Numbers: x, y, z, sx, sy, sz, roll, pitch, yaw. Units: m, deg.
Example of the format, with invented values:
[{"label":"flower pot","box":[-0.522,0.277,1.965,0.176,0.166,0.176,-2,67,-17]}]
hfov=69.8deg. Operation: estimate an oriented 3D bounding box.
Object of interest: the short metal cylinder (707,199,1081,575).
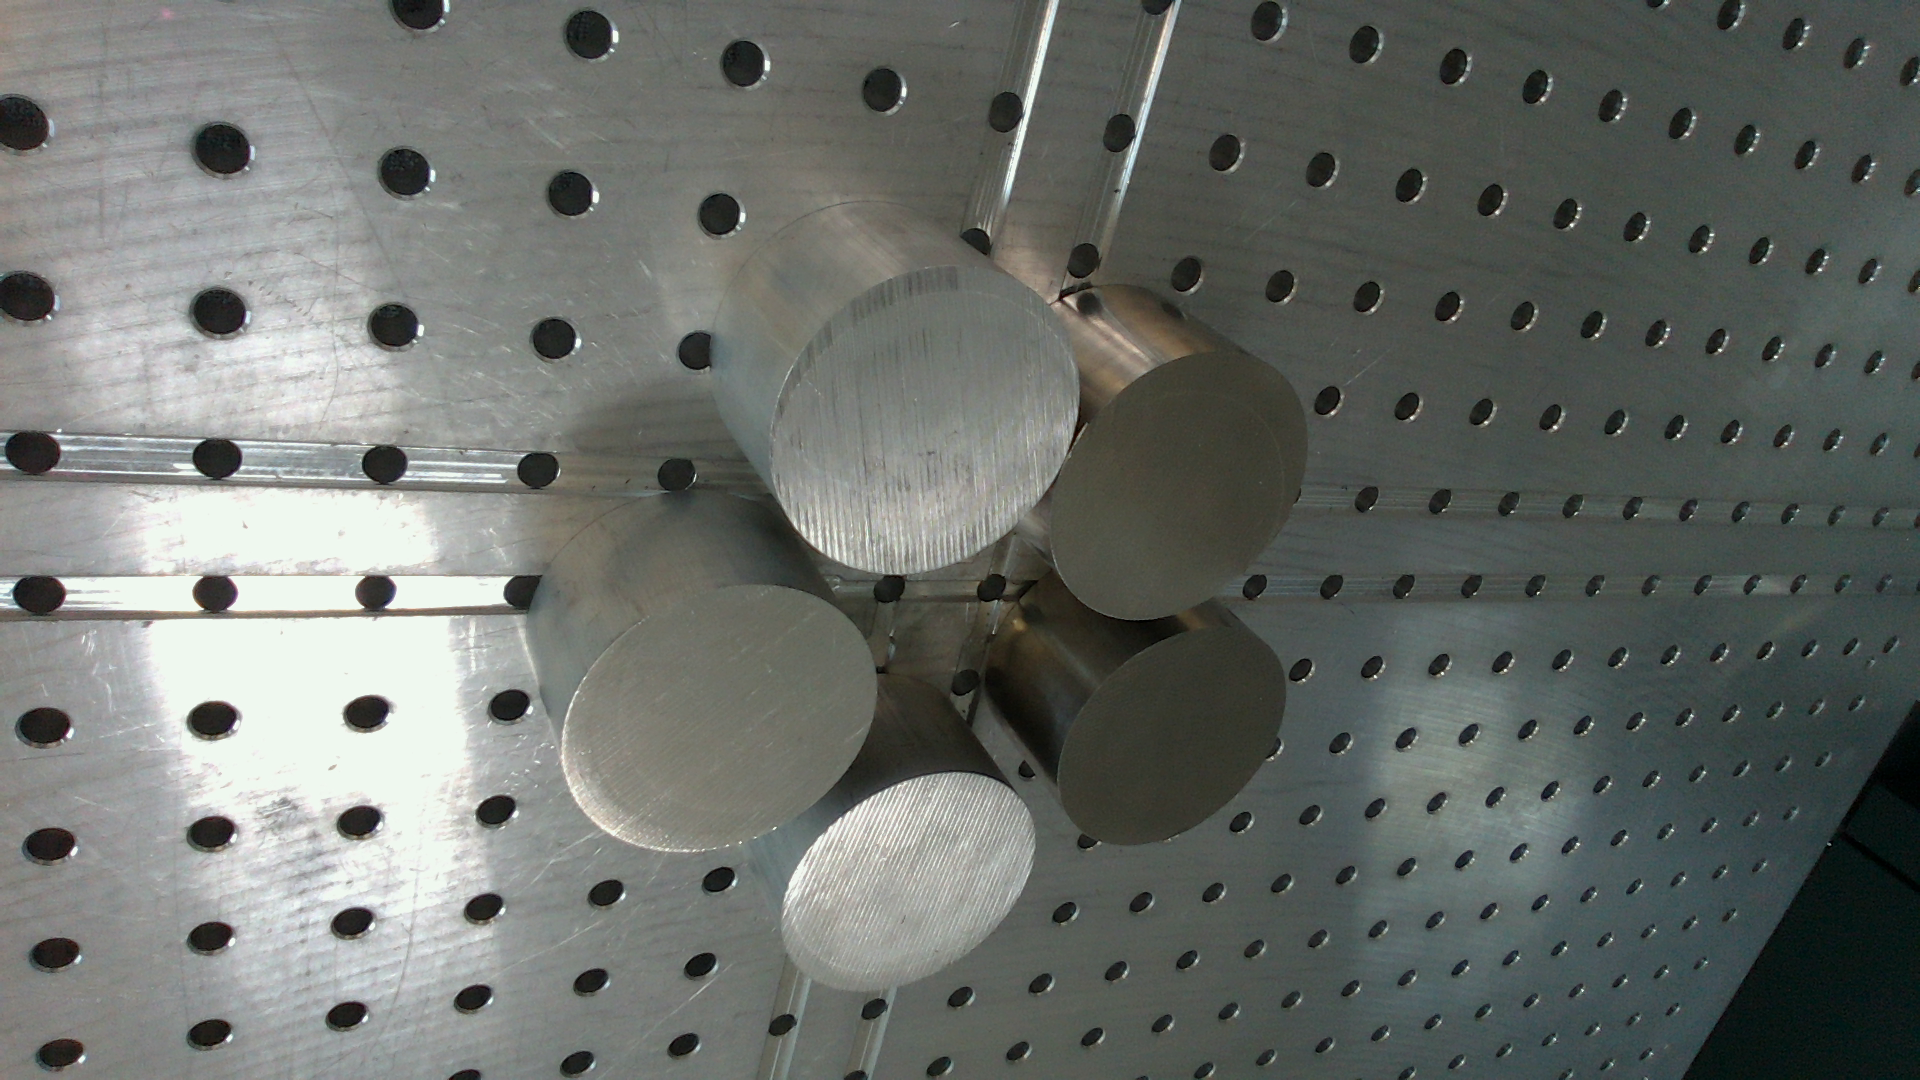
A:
[{"label":"short metal cylinder","box":[-0.017,-0.038,0.343,0.080,0.050,0.080,-14,124,-21]}]

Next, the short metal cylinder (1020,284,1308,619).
[{"label":"short metal cylinder","box":[0.049,-0.025,0.386,0.080,0.050,0.080,-14,124,-21]}]

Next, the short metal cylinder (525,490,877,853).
[{"label":"short metal cylinder","box":[-0.068,0.034,0.360,0.080,0.050,0.080,-14,124,-21]}]

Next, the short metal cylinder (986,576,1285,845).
[{"label":"short metal cylinder","box":[0.055,0.049,0.435,0.080,0.050,0.080,-14,126,-20]}]

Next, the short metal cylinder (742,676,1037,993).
[{"label":"short metal cylinder","box":[-0.024,0.088,0.416,0.080,0.050,0.080,-13,123,-20]}]
